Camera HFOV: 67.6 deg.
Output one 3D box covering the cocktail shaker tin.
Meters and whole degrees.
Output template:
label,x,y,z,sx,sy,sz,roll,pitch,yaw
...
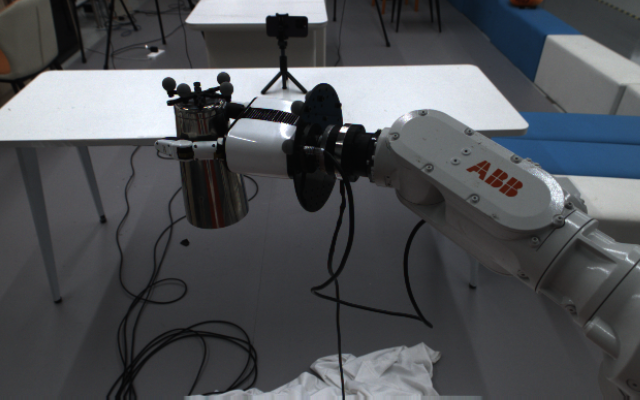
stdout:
label,x,y,z,sx,sy,sz,roll,pitch,yaw
cocktail shaker tin,-0.150,-0.058,0.667,0.093,0.170,0.093,-1,33,1
